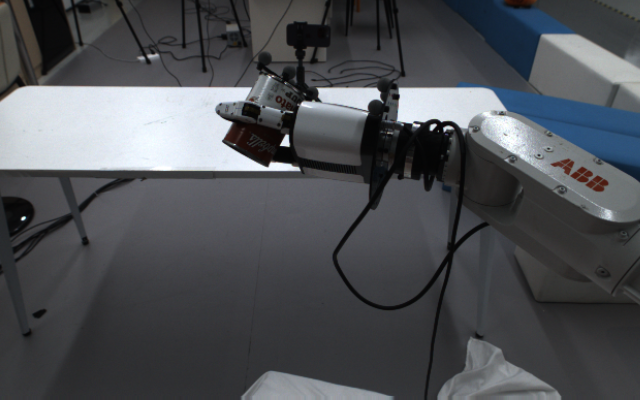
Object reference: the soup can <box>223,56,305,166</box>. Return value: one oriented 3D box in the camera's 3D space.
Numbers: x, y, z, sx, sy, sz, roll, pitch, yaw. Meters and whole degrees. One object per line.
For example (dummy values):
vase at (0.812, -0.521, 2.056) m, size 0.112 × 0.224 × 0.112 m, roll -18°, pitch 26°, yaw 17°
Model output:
soup can at (-0.071, -0.102, 0.621) m, size 0.067 × 0.101 × 0.067 m, roll 29°, pitch -2°, yaw 1°
